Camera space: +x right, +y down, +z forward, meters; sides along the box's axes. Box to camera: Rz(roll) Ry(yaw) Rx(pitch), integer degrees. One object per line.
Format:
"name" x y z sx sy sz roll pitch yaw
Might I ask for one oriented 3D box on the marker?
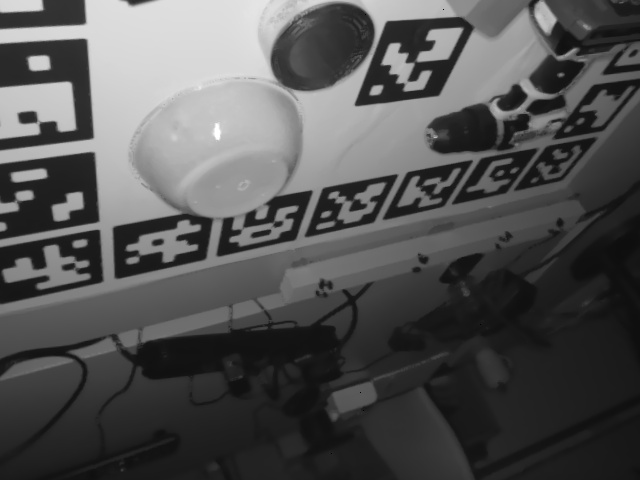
"marker" -0.090 -0.160 0.467 0.122 0.019 0.019 -18 150 -12

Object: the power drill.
"power drill" 0.217 -0.171 0.667 0.186 0.057 0.185 -12 152 -17

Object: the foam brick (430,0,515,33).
"foam brick" 0.126 -0.210 0.537 0.052 0.053 0.077 3 140 -39

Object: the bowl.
"bowl" -0.083 -0.064 0.624 0.162 0.055 0.160 -22 159 -8

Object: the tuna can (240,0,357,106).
"tuna can" -0.017 -0.146 0.537 0.086 0.034 0.085 -18 151 -9
